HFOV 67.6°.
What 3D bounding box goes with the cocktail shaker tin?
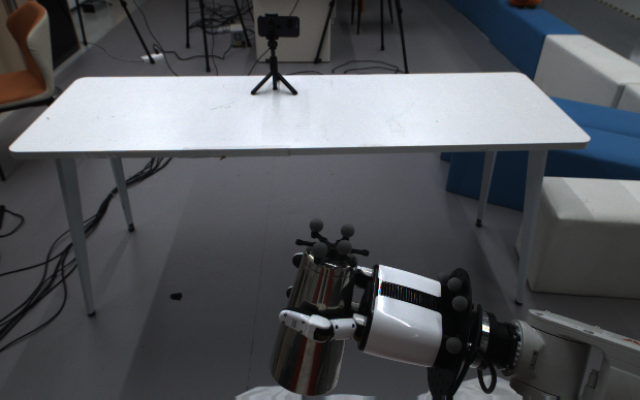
[{"bbox_3d":[-0.002,0.142,0.603,0.093,0.170,0.093,11,19,-4],"label":"cocktail shaker tin"}]
